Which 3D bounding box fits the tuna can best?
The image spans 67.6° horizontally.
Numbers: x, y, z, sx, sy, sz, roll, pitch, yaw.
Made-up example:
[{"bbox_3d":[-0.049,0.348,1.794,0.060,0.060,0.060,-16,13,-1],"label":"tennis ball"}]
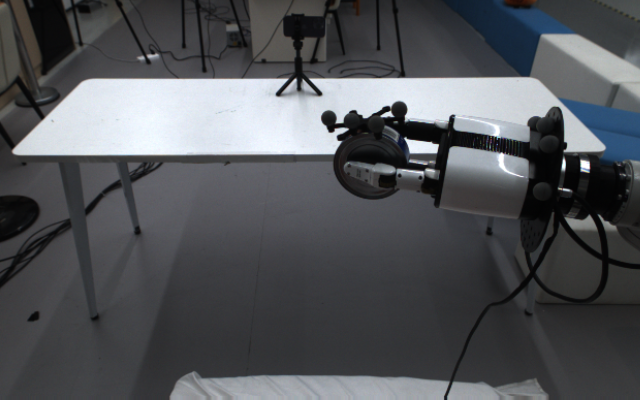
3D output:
[{"bbox_3d":[0.063,-0.046,0.563,0.085,0.085,0.034,10,33,11],"label":"tuna can"}]
